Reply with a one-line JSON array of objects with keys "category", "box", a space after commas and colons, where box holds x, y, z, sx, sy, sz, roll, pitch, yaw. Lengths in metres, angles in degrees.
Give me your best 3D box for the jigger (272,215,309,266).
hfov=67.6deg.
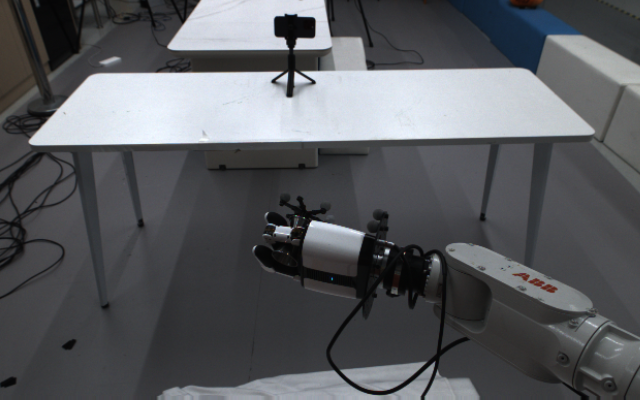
[{"category": "jigger", "box": [-0.038, 0.062, 0.739, 0.043, 0.043, 0.071, 13, 58, 16]}]
